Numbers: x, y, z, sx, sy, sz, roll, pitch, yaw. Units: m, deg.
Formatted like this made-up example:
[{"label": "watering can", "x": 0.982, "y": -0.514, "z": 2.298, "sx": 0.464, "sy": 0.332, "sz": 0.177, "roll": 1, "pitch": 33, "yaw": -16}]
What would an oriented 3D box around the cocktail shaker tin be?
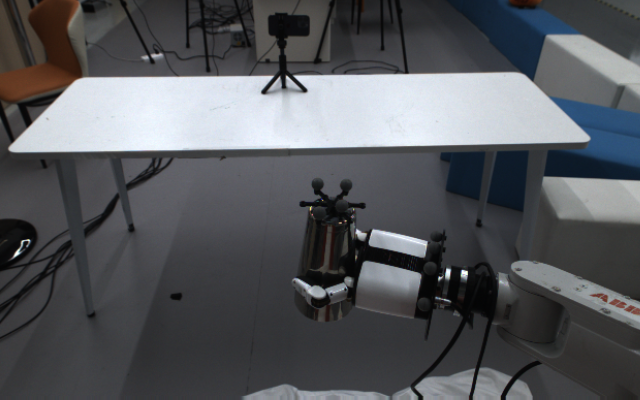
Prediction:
[{"label": "cocktail shaker tin", "x": 0.014, "y": 0.083, "z": 0.701, "sx": 0.093, "sy": 0.170, "sz": 0.093, "roll": 3, "pitch": 34, "yaw": -2}]
